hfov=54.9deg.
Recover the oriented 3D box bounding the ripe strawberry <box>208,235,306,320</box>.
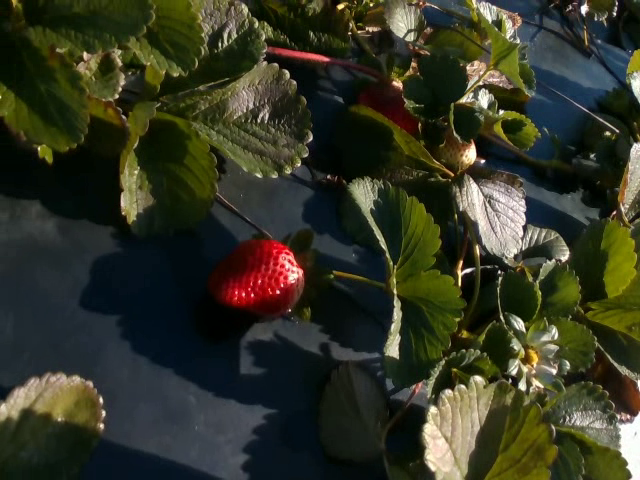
[{"bbox_3d":[-0.029,0.019,0.267,0.044,0.042,0.055,1,15,39],"label":"ripe strawberry"}]
